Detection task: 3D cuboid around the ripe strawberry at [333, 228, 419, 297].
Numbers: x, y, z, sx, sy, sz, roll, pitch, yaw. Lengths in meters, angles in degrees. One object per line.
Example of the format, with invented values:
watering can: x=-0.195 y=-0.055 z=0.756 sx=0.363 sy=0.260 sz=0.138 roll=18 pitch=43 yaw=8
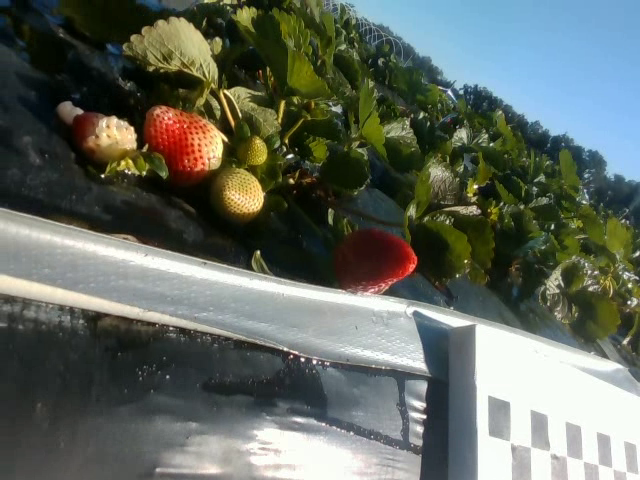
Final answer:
ripe strawberry: x=0.025 y=0.010 z=0.263 sx=0.036 sy=0.038 sz=0.045 roll=21 pitch=-13 yaw=-34
